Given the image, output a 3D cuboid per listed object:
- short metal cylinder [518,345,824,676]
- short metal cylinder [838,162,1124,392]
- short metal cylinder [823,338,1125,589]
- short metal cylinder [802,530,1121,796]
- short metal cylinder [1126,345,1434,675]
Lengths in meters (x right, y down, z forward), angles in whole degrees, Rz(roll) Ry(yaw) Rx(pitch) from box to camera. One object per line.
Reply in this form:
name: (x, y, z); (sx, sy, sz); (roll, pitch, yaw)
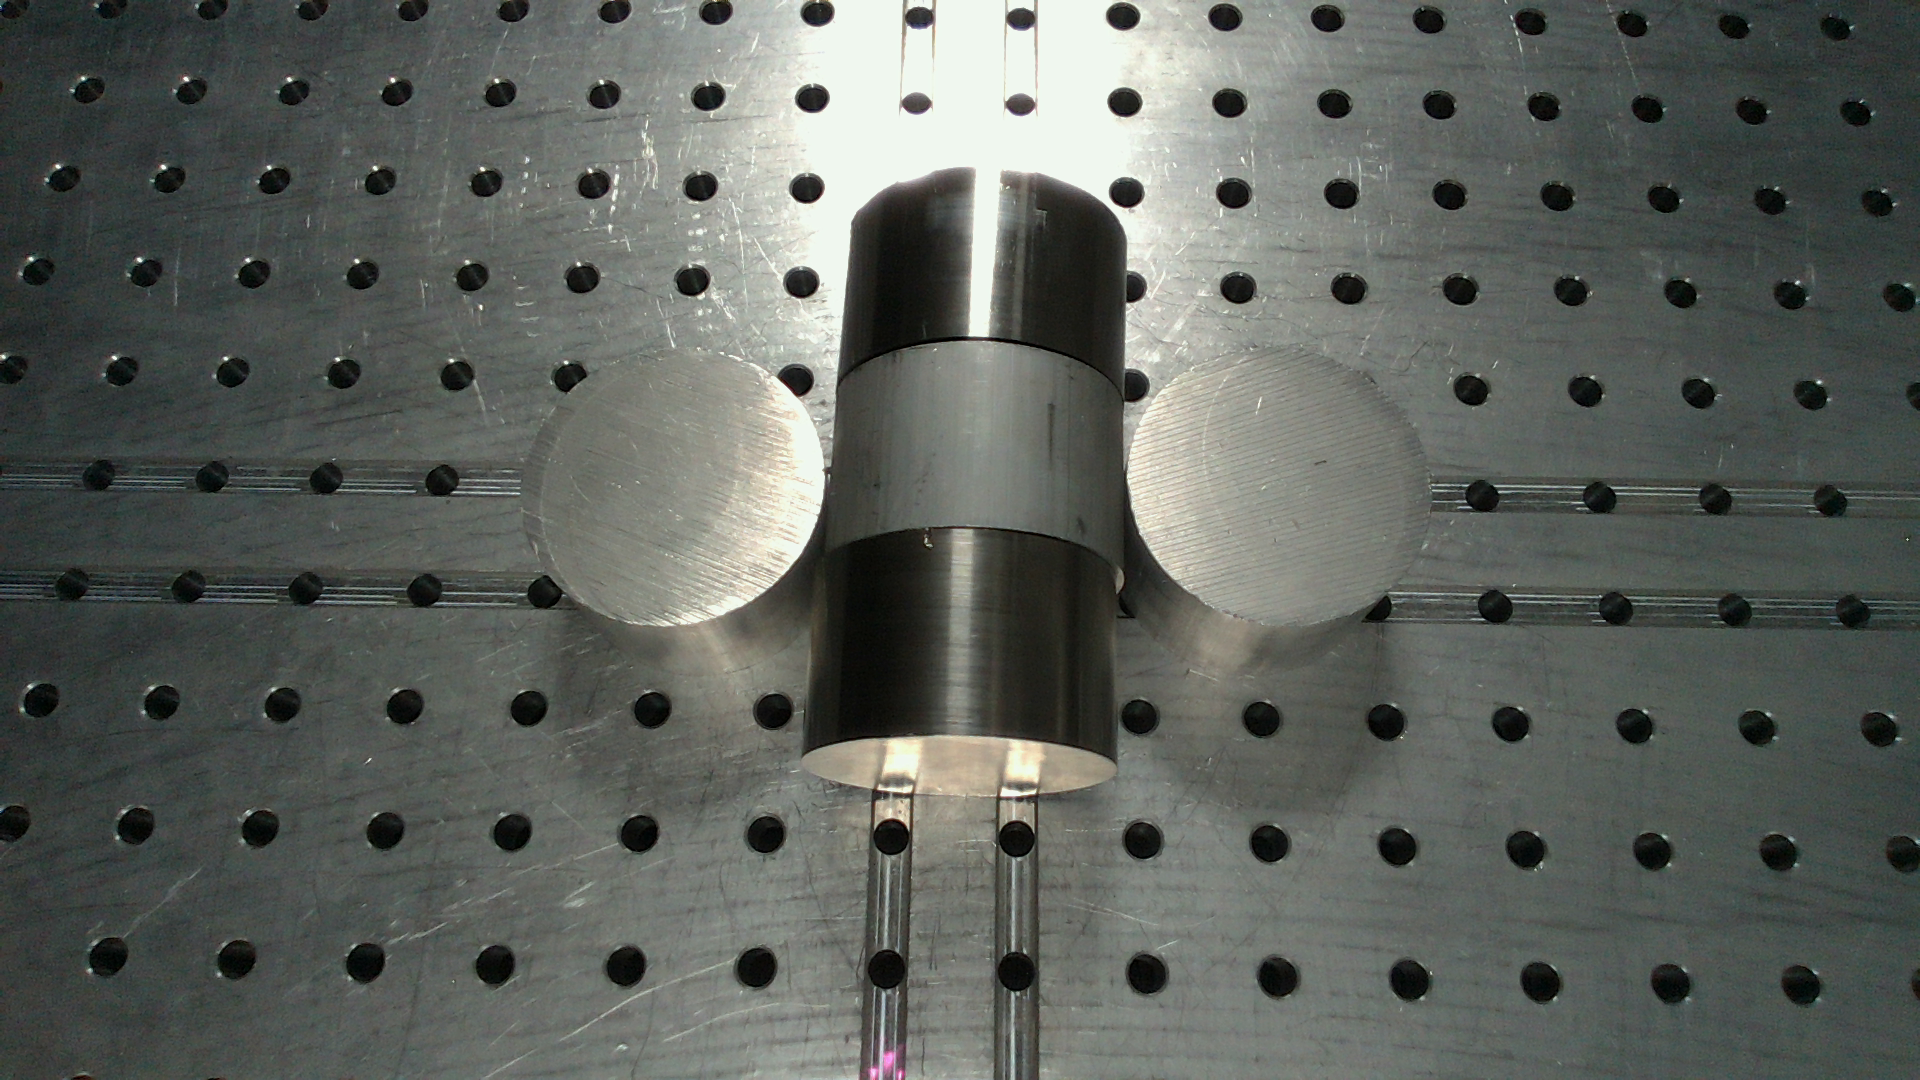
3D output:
short metal cylinder: (-0.076, -0.007, 0.385); (0.080, 0.050, 0.080); (0, 70, 0)
short metal cylinder: (0.007, -0.062, 0.390); (0.080, 0.080, 0.050); (2, 70, 1)
short metal cylinder: (0.004, -0.013, 0.372); (0.080, 0.080, 0.050); (2, 70, 1)
short metal cylinder: (0.001, 0.035, 0.355); (0.080, 0.080, 0.050); (1, 70, 1)
short metal cylinder: (0.085, -0.007, 0.386); (0.080, 0.050, 0.080); (0, 70, 0)
